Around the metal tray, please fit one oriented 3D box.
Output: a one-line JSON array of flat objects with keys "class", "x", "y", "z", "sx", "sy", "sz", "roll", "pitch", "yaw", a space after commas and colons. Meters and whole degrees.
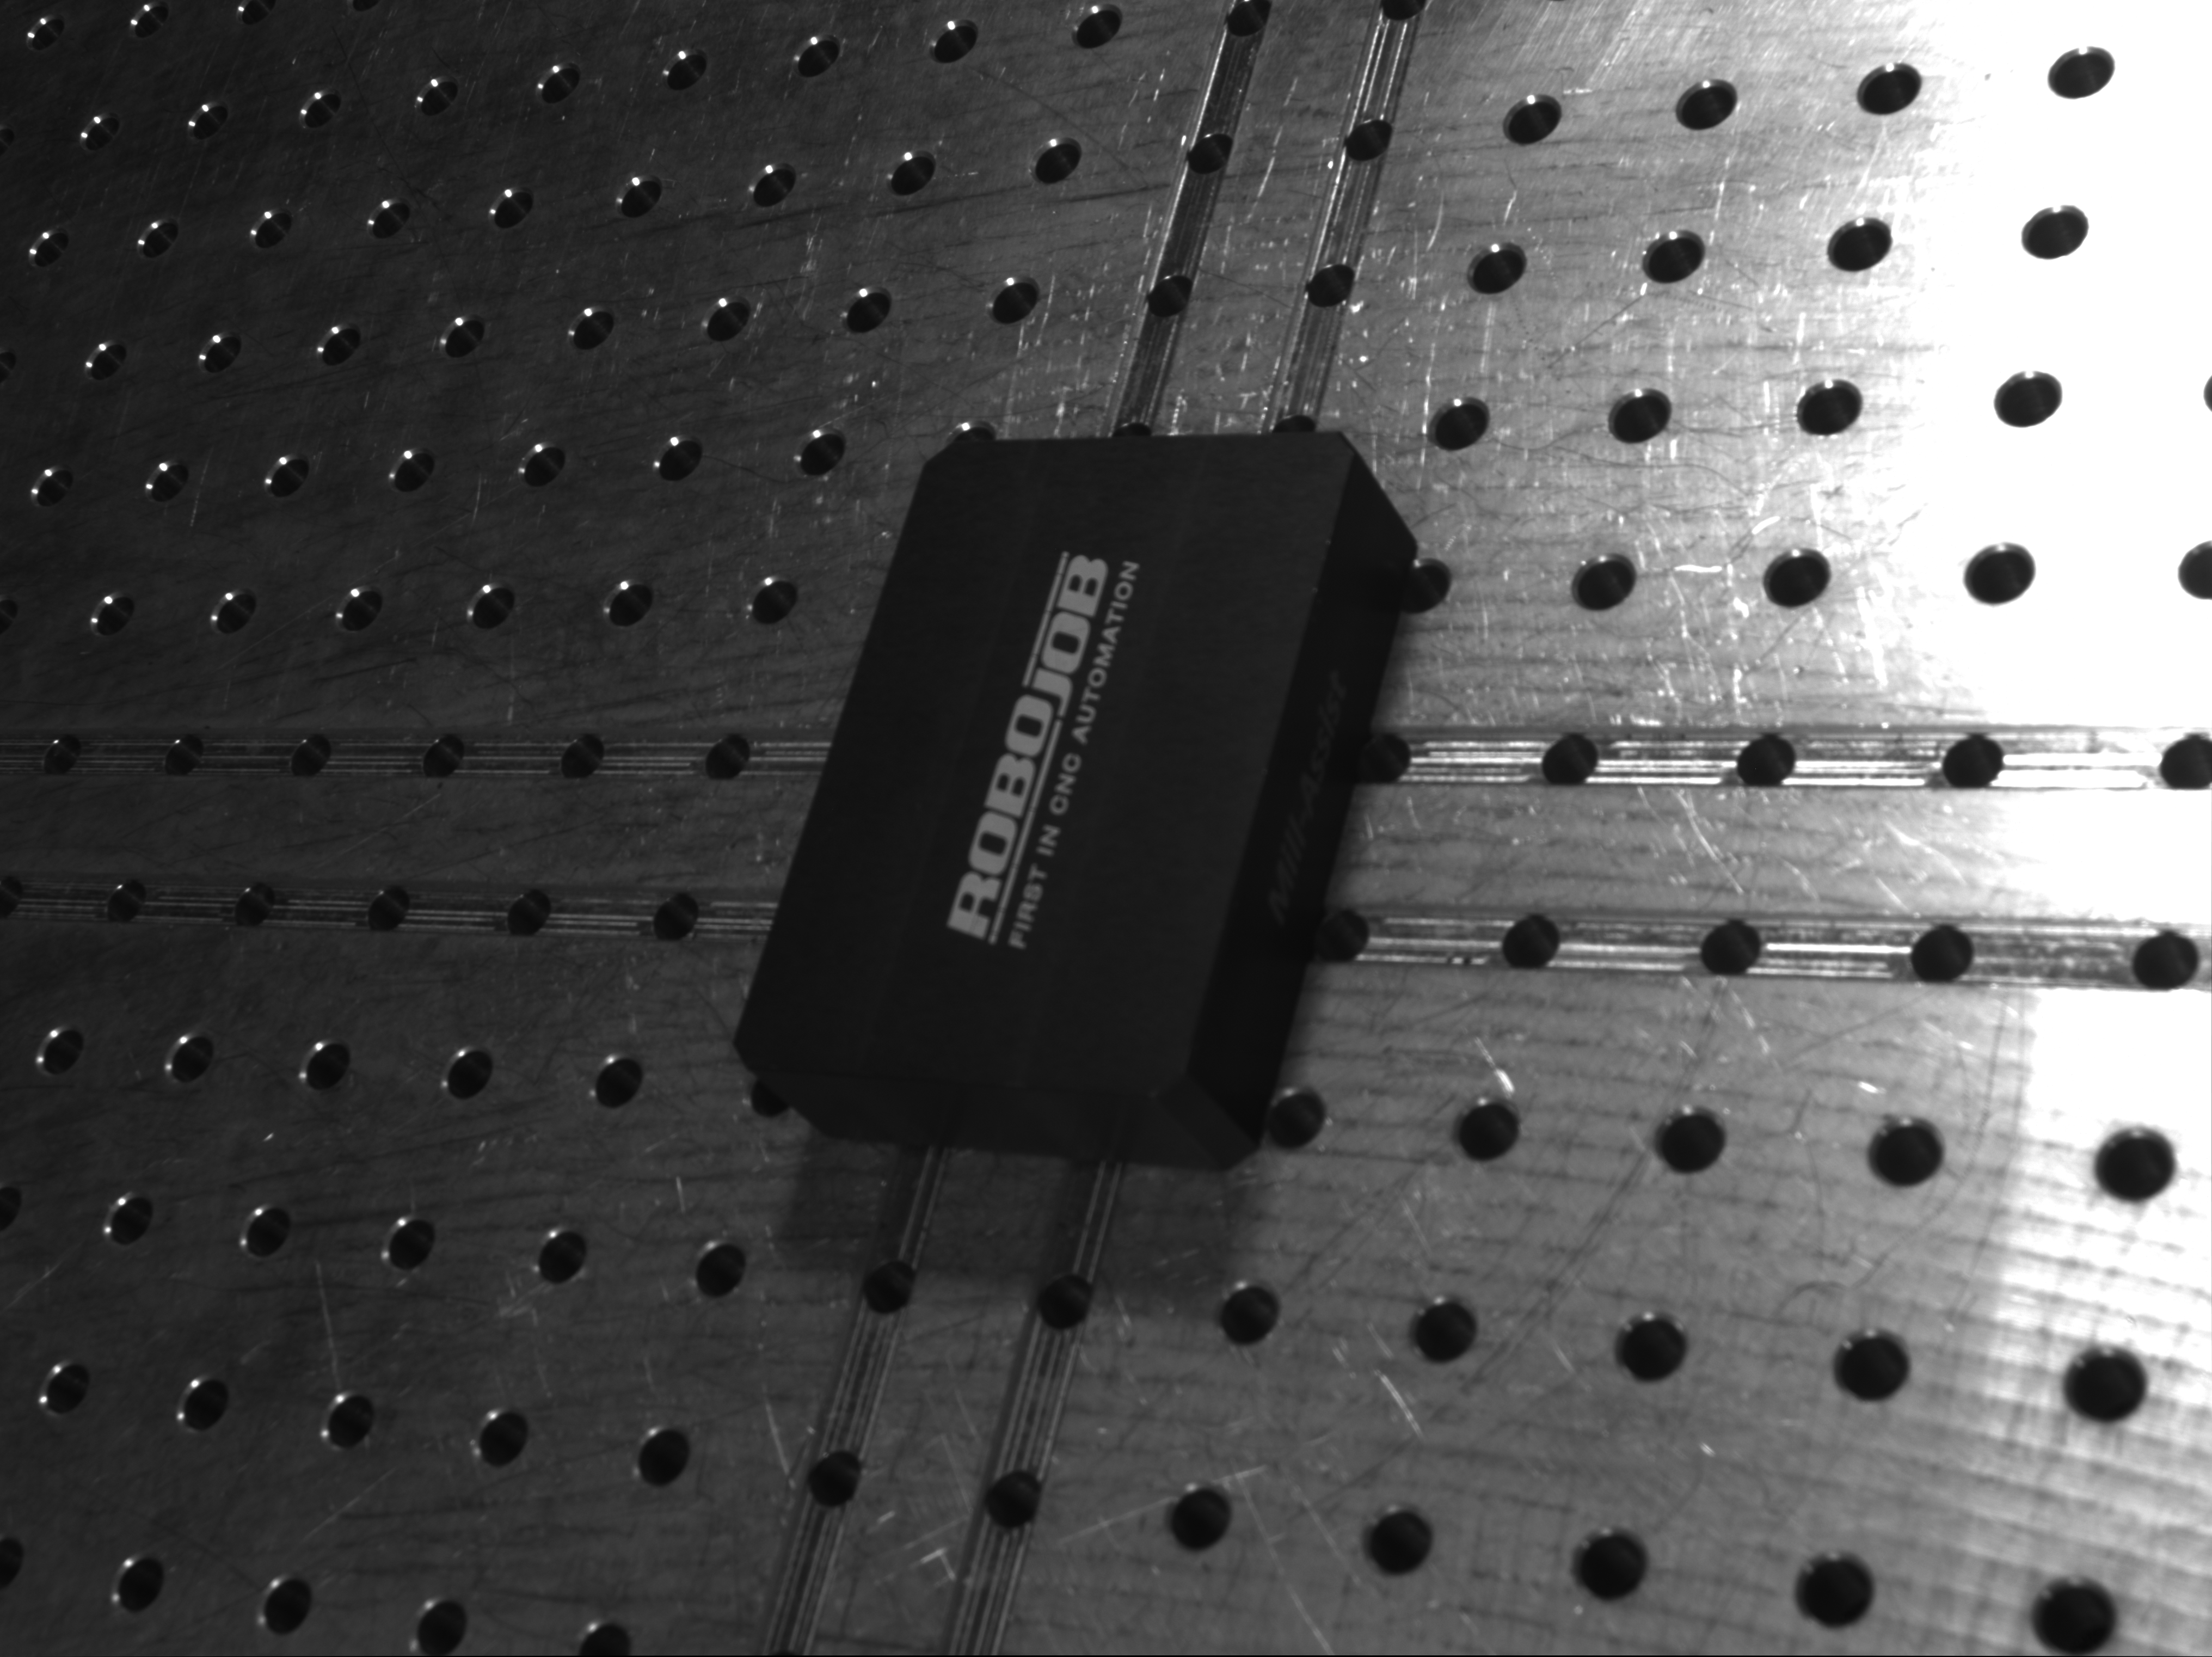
[{"class": "metal tray", "x": -0.002, "y": -0.007, "z": 0.649, "sx": 0.090, "sy": 0.030, "sz": 0.130, "roll": 2, "pitch": 62, "yaw": 29}]
